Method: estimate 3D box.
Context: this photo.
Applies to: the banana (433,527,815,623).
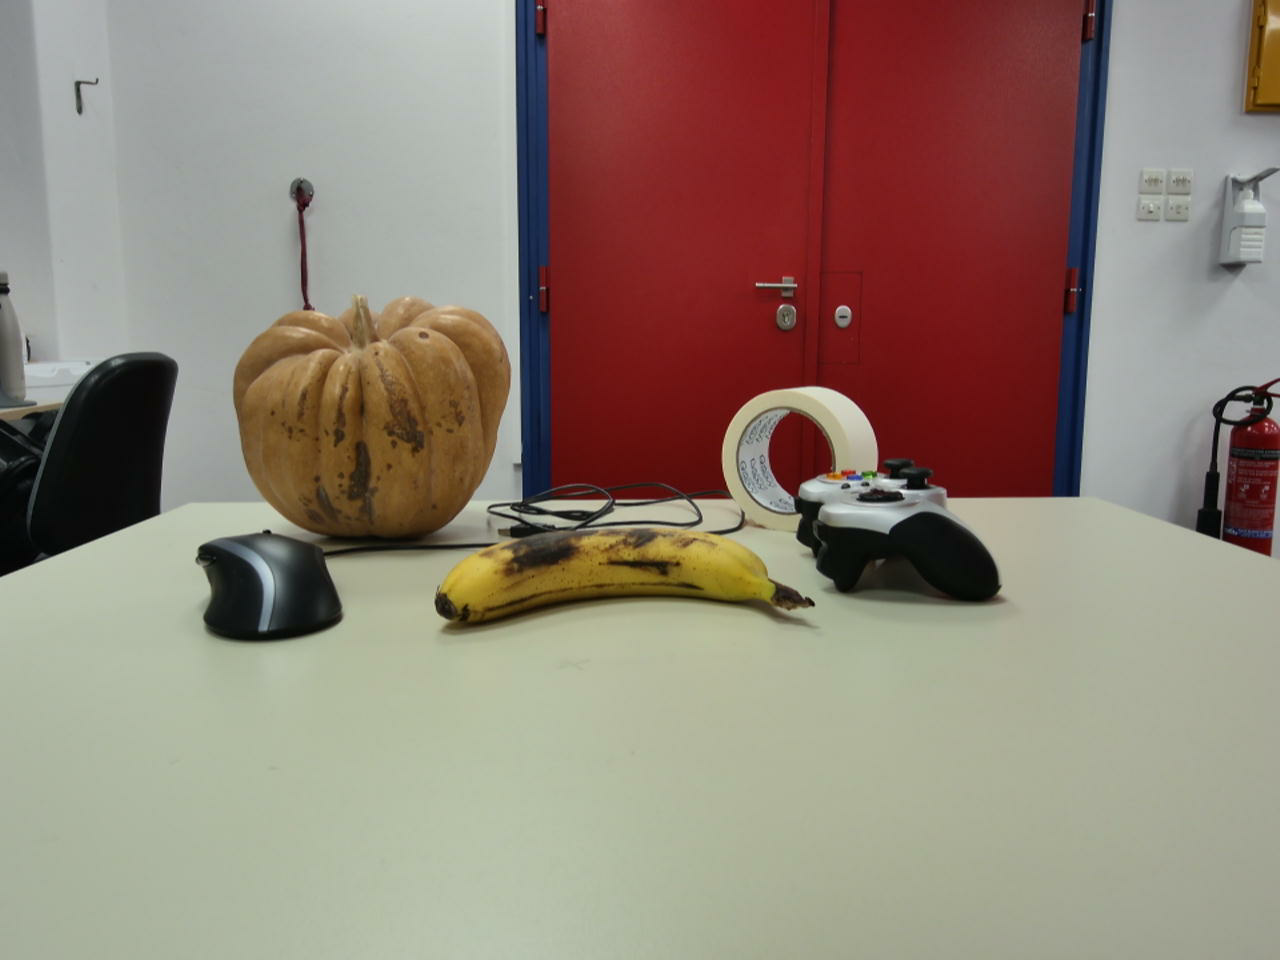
[{"bbox_3d":[-0.011,0.049,0.533,0.187,0.039,0.094,0,6,-3],"label":"banana"}]
